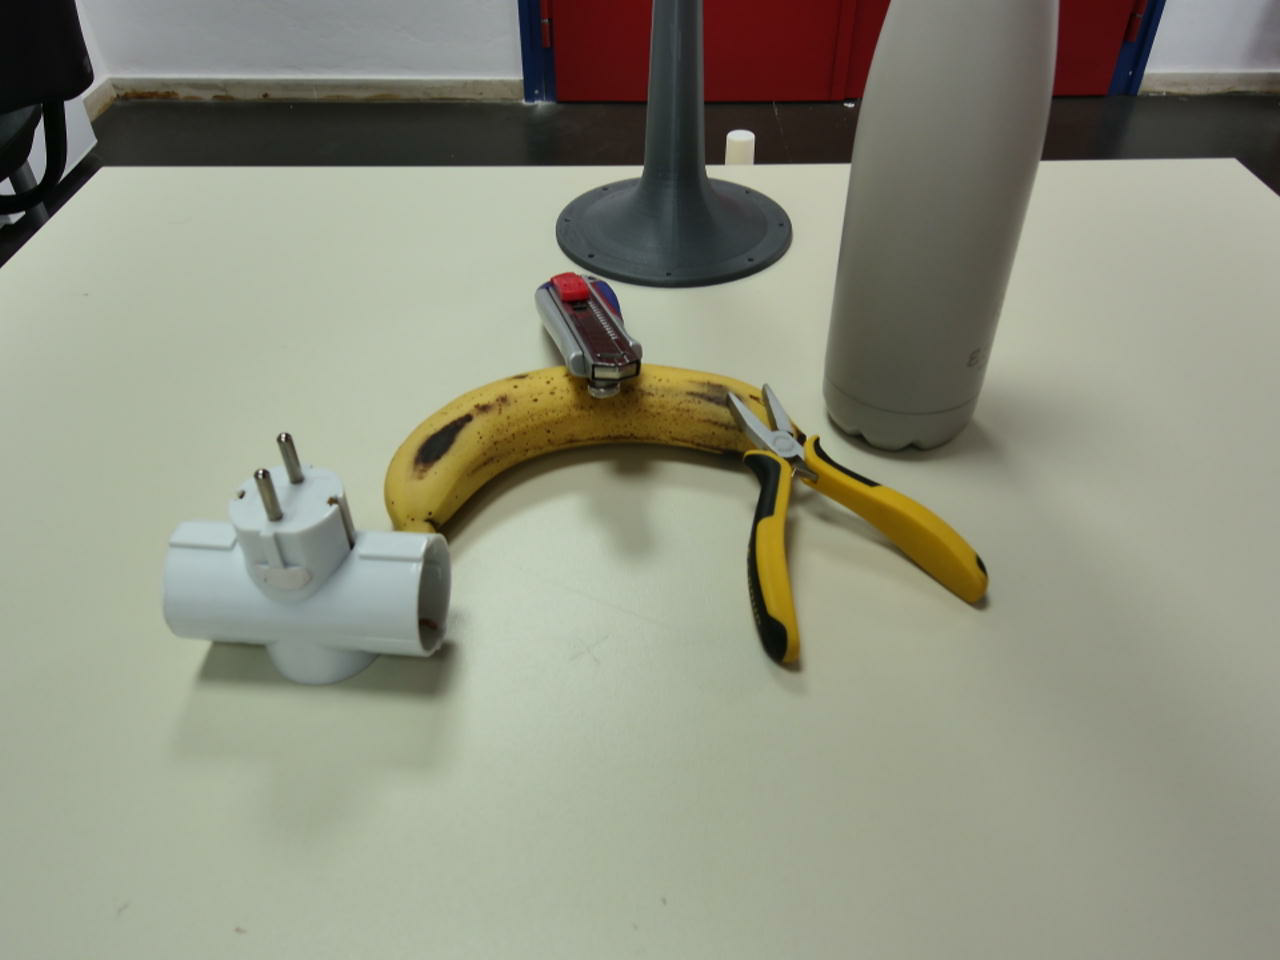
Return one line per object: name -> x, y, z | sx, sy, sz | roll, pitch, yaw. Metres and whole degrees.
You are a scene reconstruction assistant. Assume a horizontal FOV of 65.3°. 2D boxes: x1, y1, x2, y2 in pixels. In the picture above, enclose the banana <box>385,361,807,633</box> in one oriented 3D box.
banana -> -0.028, -0.016, 0.440 | 0.186, 0.038, 0.097 | -18, 42, -22
